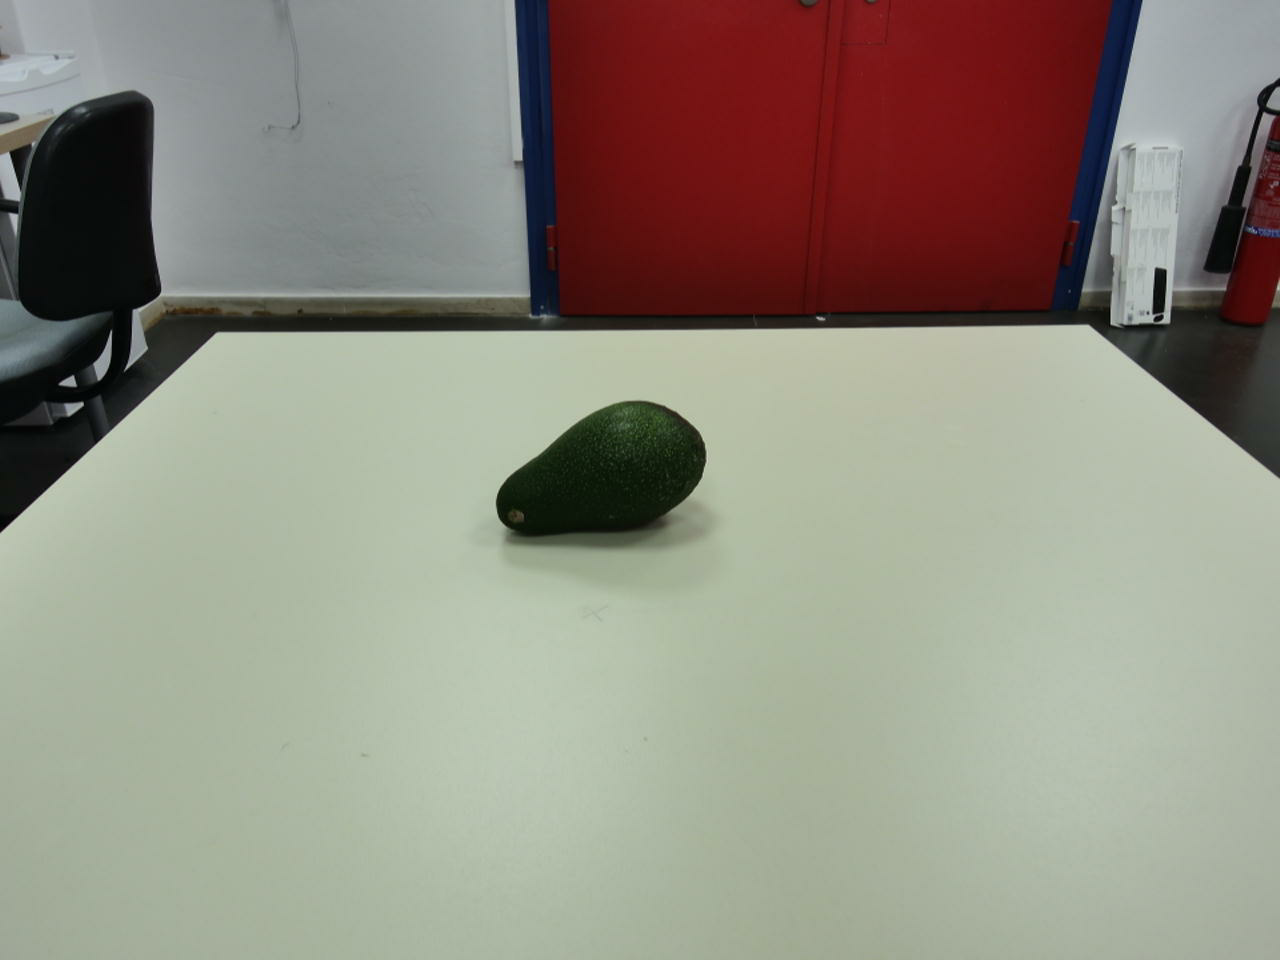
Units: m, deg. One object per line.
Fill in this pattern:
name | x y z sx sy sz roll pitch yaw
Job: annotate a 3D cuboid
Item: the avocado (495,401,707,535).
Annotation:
avocado | -0.021 -0.011 0.595 0.123 0.076 0.074 2 26 5
